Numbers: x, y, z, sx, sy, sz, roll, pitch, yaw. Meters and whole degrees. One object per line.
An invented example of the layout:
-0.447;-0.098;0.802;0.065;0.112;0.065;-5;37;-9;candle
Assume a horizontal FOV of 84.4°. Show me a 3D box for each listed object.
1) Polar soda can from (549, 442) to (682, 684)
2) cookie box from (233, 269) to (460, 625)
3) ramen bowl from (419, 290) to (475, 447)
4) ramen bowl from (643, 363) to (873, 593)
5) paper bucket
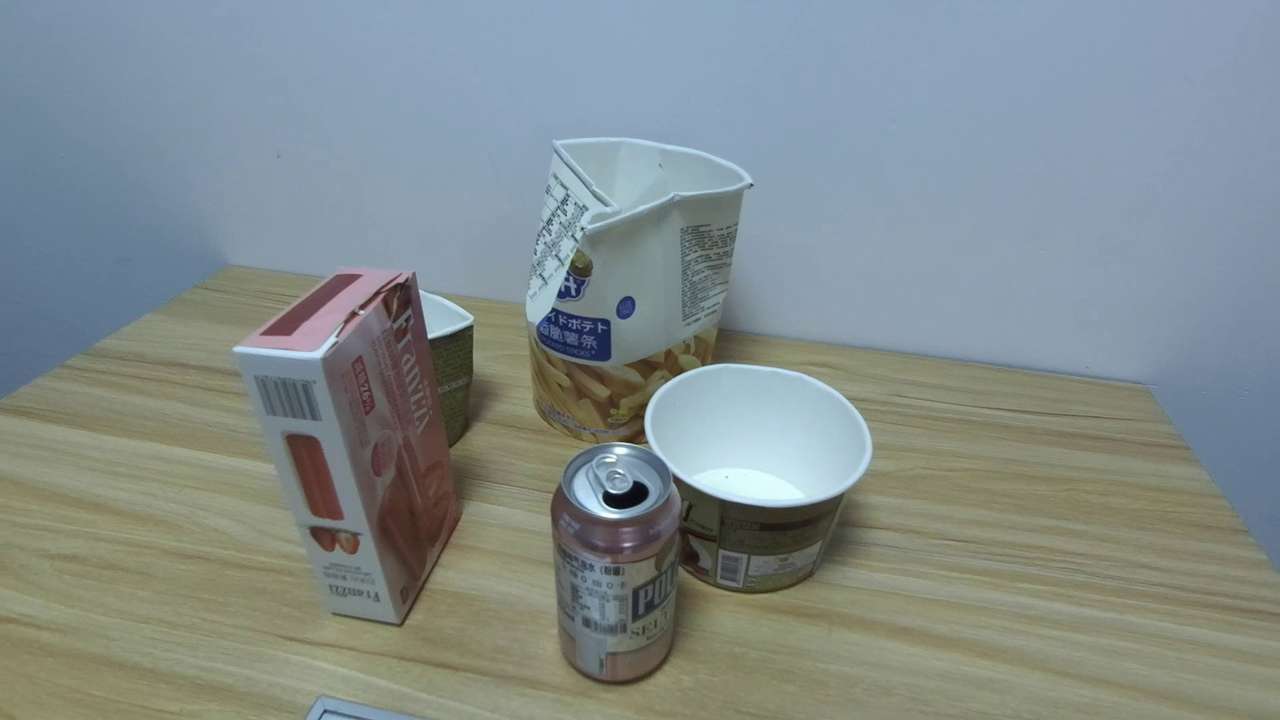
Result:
-0.012;0.108;0.375;0.067;0.126;0.067;1;33;-1;Polar soda can
-0.152;0.047;0.405;0.049;0.188;0.105;5;32;9;cookie box
-0.197;0.016;0.541;0.111;0.093;0.128;19;39;21;ramen bowl
0.071;0.078;0.456;0.140;0.095;0.140;1;32;0;ramen bowl
-0.021;-0.058;0.570;0.170;0.202;0.162;-20;37;-34;paper bucket
